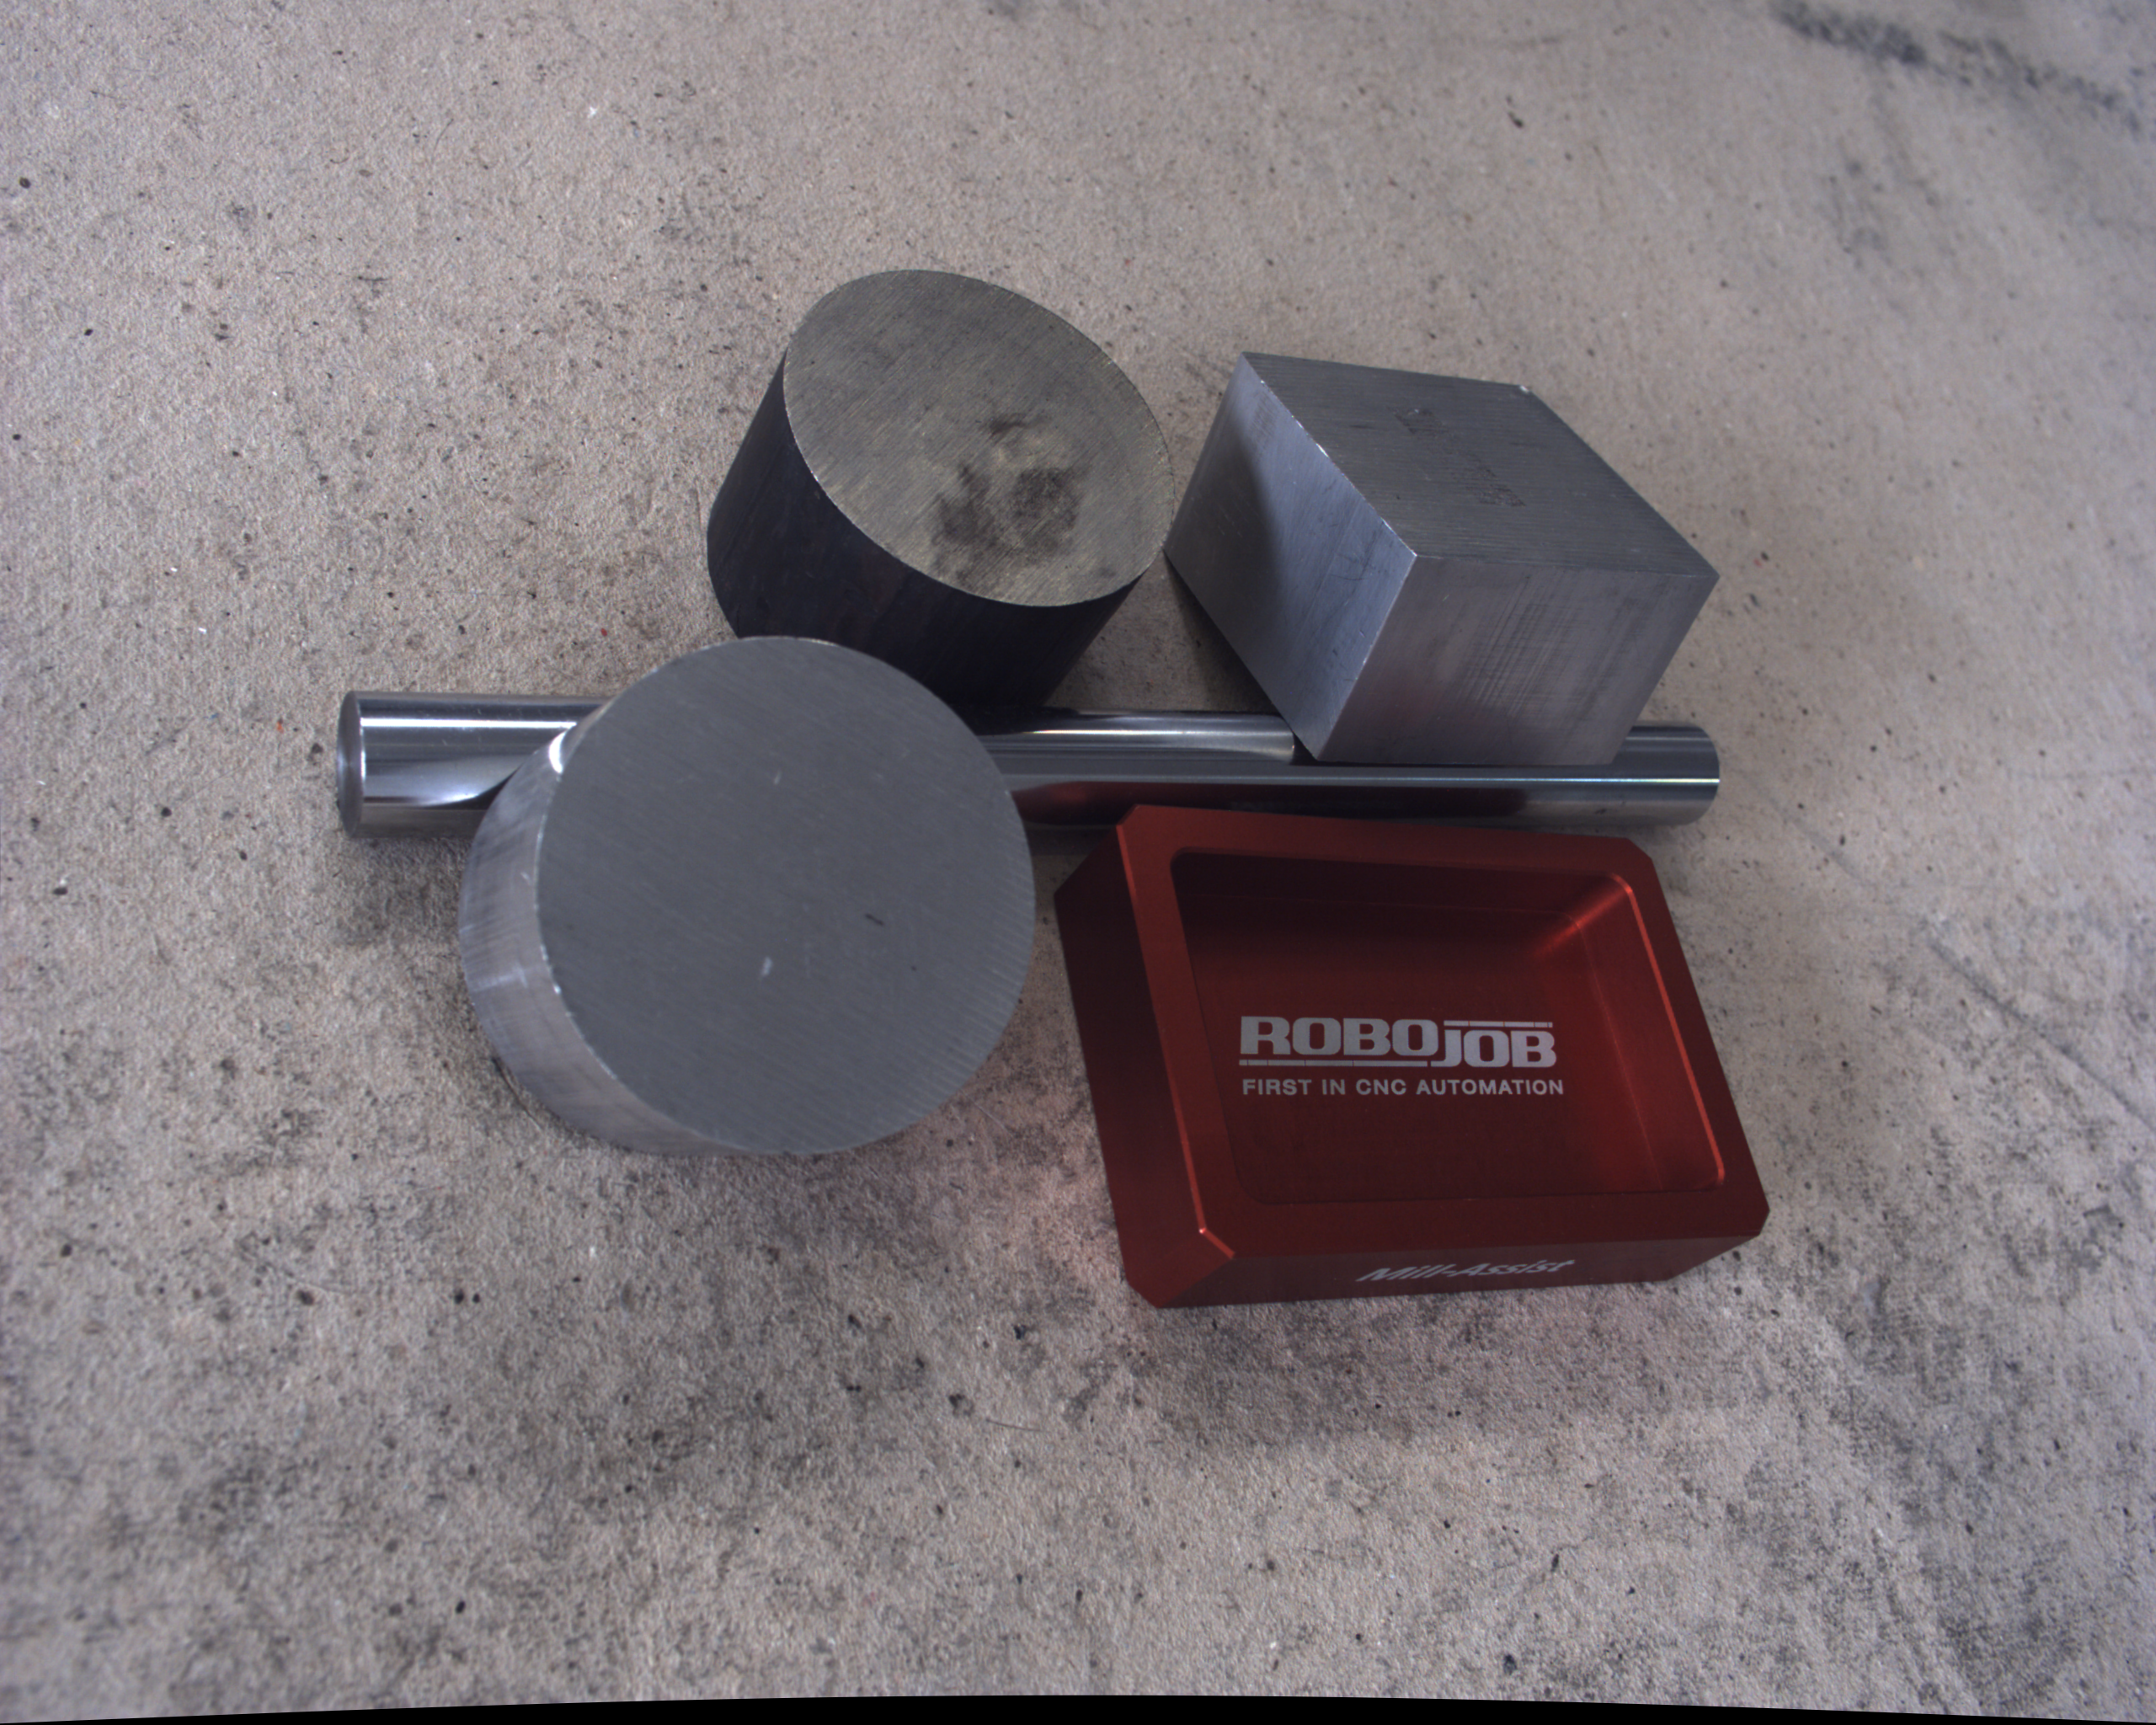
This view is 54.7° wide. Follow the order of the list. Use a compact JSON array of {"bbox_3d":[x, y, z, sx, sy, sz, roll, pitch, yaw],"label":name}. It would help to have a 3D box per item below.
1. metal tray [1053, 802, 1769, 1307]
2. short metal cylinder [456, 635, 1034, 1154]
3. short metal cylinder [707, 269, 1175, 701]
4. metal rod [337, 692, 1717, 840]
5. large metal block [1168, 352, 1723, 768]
[{"bbox_3d":[0.066,0.037,0.414,0.131,0.030,0.090,3,60,-27],"label":"metal tray"},{"bbox_3d":[-0.055,0.007,0.339,0.081,0.050,0.080,5,80,-28],"label":"short metal cylinder"},{"bbox_3d":[-0.028,-0.071,0.417,0.081,0.050,0.080,14,56,-21],"label":"short metal cylinder"},{"bbox_3d":[0.010,-0.018,0.423,0.303,0.025,0.025,-1,62,-29],"label":"metal rod"},{"bbox_3d":[0.076,-0.065,0.454,0.081,0.050,0.080,-1,41,-29],"label":"large metal block"}]
